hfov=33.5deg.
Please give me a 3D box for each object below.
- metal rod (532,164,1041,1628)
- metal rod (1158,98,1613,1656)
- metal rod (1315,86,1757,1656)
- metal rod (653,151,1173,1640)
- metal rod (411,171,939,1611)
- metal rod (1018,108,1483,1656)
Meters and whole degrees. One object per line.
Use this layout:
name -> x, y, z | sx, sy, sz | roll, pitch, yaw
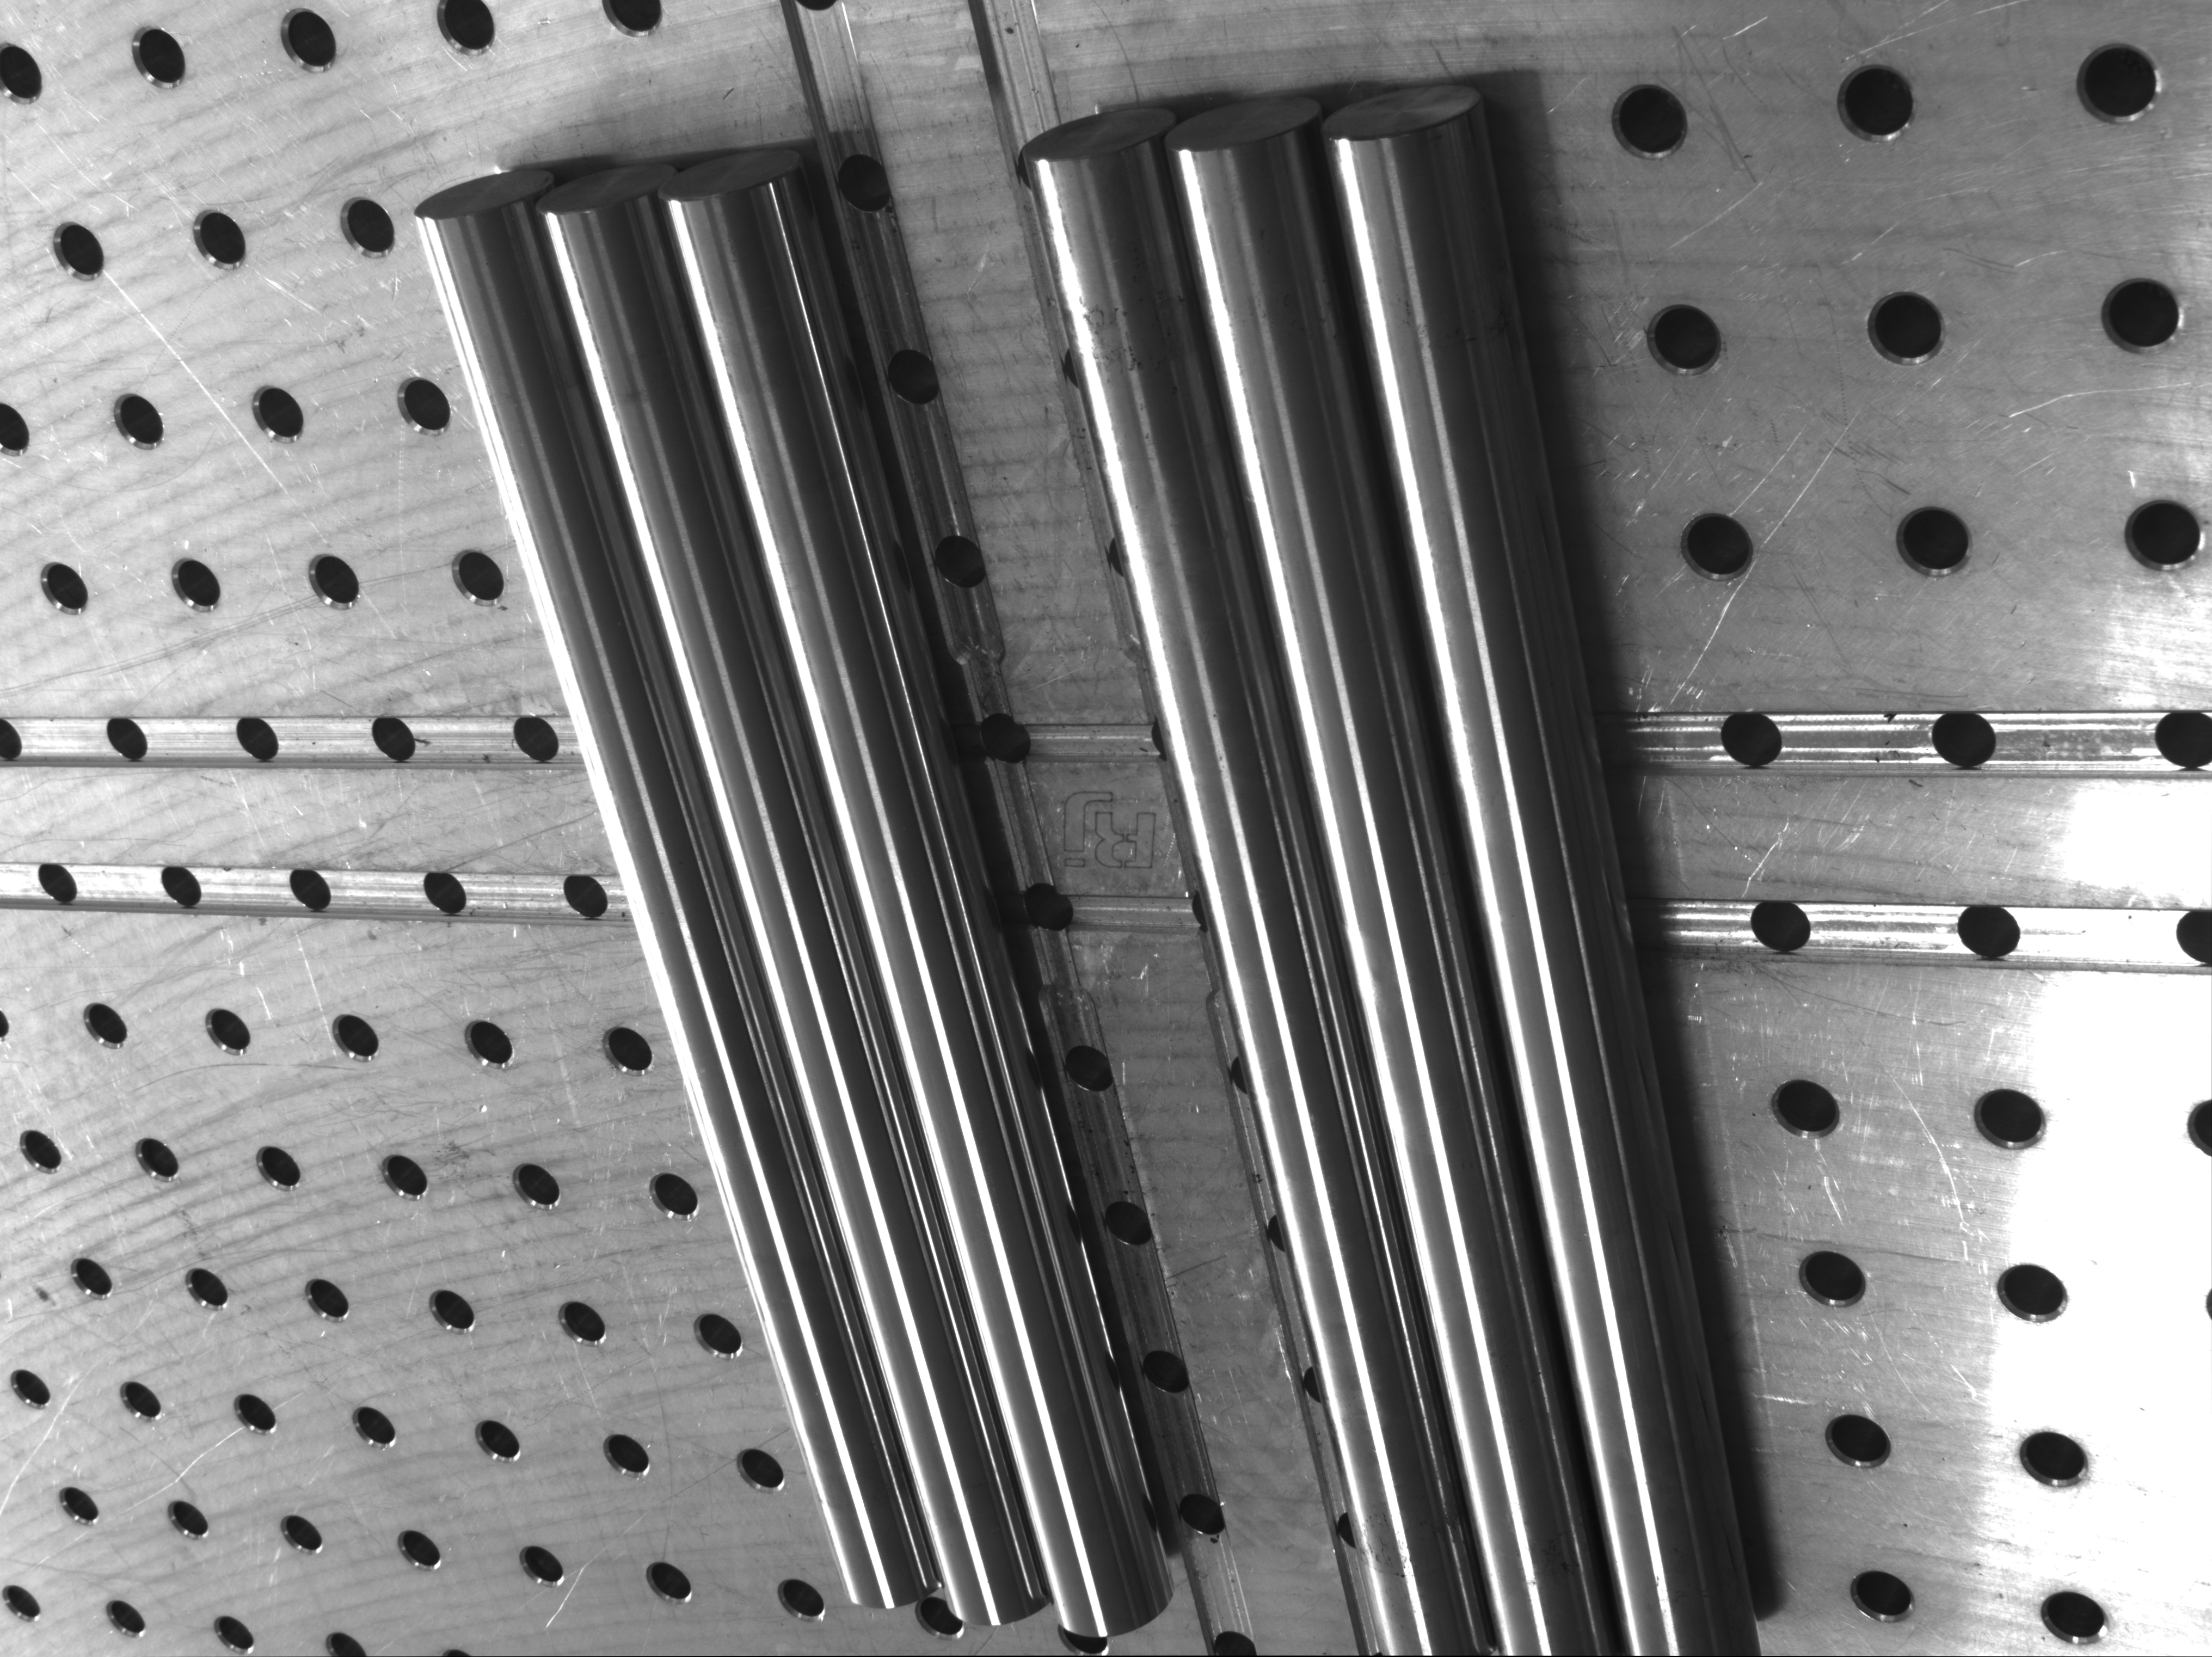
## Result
metal rod -> -0.053, 0.023, 0.688 | 0.025, 0.025, 0.300 | 1, 119, 28
metal rod -> 0.053, 0.023, 0.631 | 0.025, 0.025, 0.300 | 1, 119, 28
metal rod -> 0.076, 0.024, 0.619 | 0.025, 0.025, 0.300 | 1, 119, 28
metal rod -> -0.031, 0.023, 0.677 | 0.025, 0.025, 0.300 | 1, 119, 28
metal rod -> -0.076, 0.022, 0.700 | 0.025, 0.025, 0.300 | 1, 119, 28
metal rod -> 0.031, 0.023, 0.643 | 0.025, 0.025, 0.300 | 1, 119, 28
